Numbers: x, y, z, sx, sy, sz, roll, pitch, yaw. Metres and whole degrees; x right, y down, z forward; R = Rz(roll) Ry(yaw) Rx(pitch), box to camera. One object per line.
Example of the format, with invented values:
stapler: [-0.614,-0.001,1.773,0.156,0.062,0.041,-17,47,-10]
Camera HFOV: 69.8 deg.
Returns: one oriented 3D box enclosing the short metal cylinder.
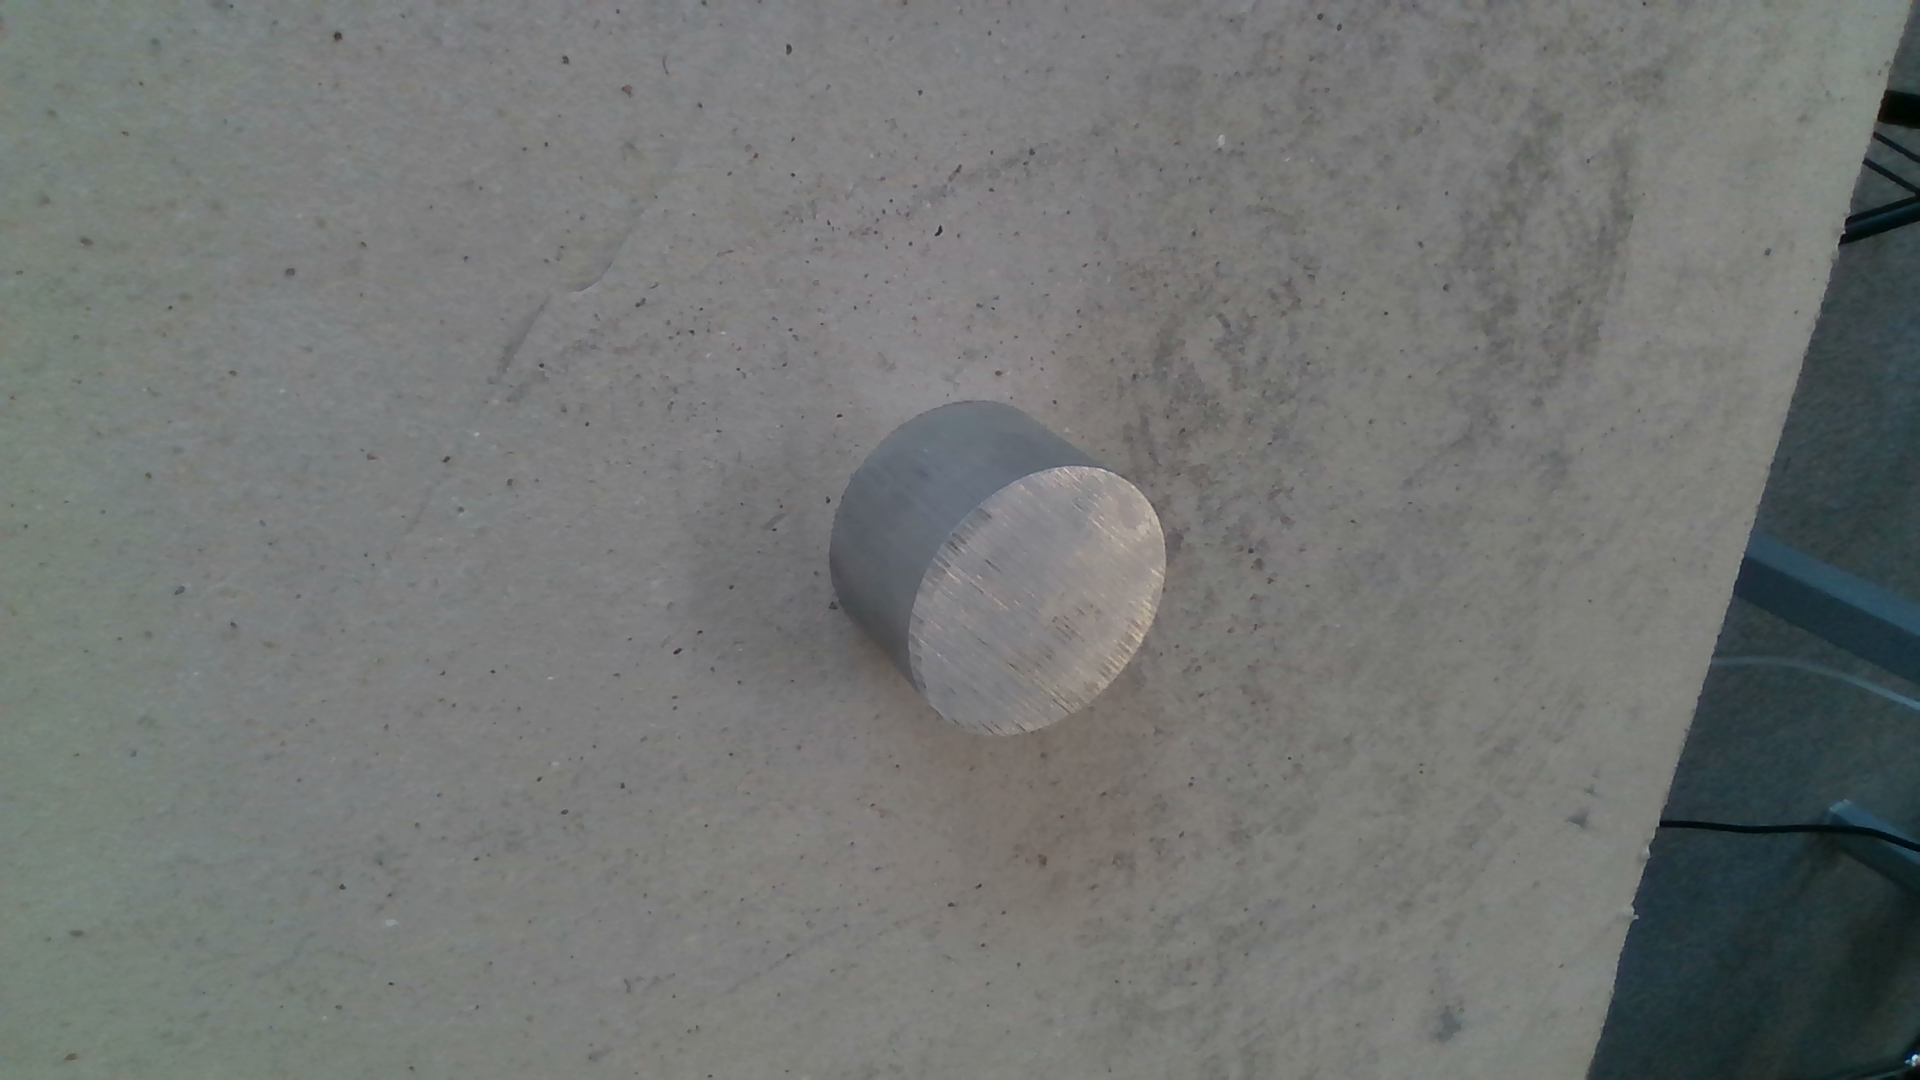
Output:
short metal cylinder: [0.010,0.007,0.383,0.080,0.050,0.080,-15,123,-25]
